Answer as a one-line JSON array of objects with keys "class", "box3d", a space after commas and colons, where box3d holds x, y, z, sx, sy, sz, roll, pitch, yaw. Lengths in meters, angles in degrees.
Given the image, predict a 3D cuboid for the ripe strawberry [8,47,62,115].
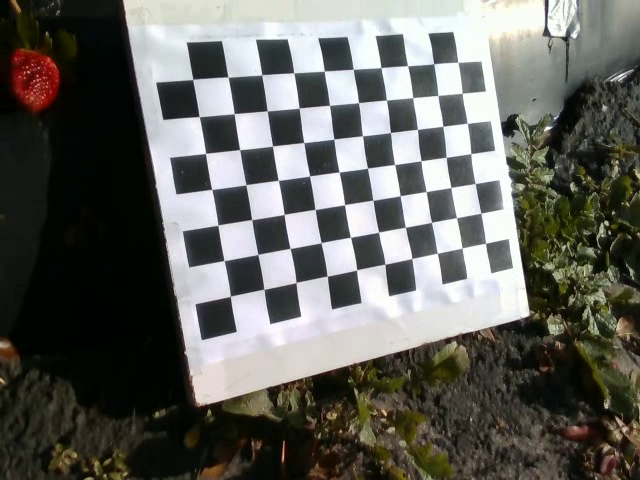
[{"class": "ripe strawberry", "box3d": [-0.062, -0.034, 0.147, 0.015, 0.015, 0.023, -1, 36, -27]}]
